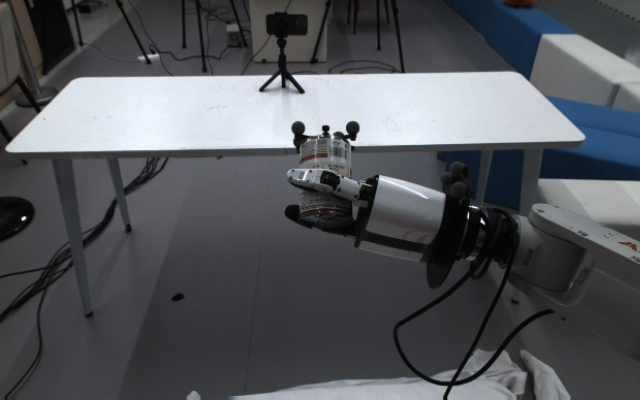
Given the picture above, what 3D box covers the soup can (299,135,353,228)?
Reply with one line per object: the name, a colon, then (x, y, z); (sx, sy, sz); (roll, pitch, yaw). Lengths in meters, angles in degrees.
soup can: (0.008, -0.022, 0.607); (0.067, 0.067, 0.101); (1, 73, -2)
